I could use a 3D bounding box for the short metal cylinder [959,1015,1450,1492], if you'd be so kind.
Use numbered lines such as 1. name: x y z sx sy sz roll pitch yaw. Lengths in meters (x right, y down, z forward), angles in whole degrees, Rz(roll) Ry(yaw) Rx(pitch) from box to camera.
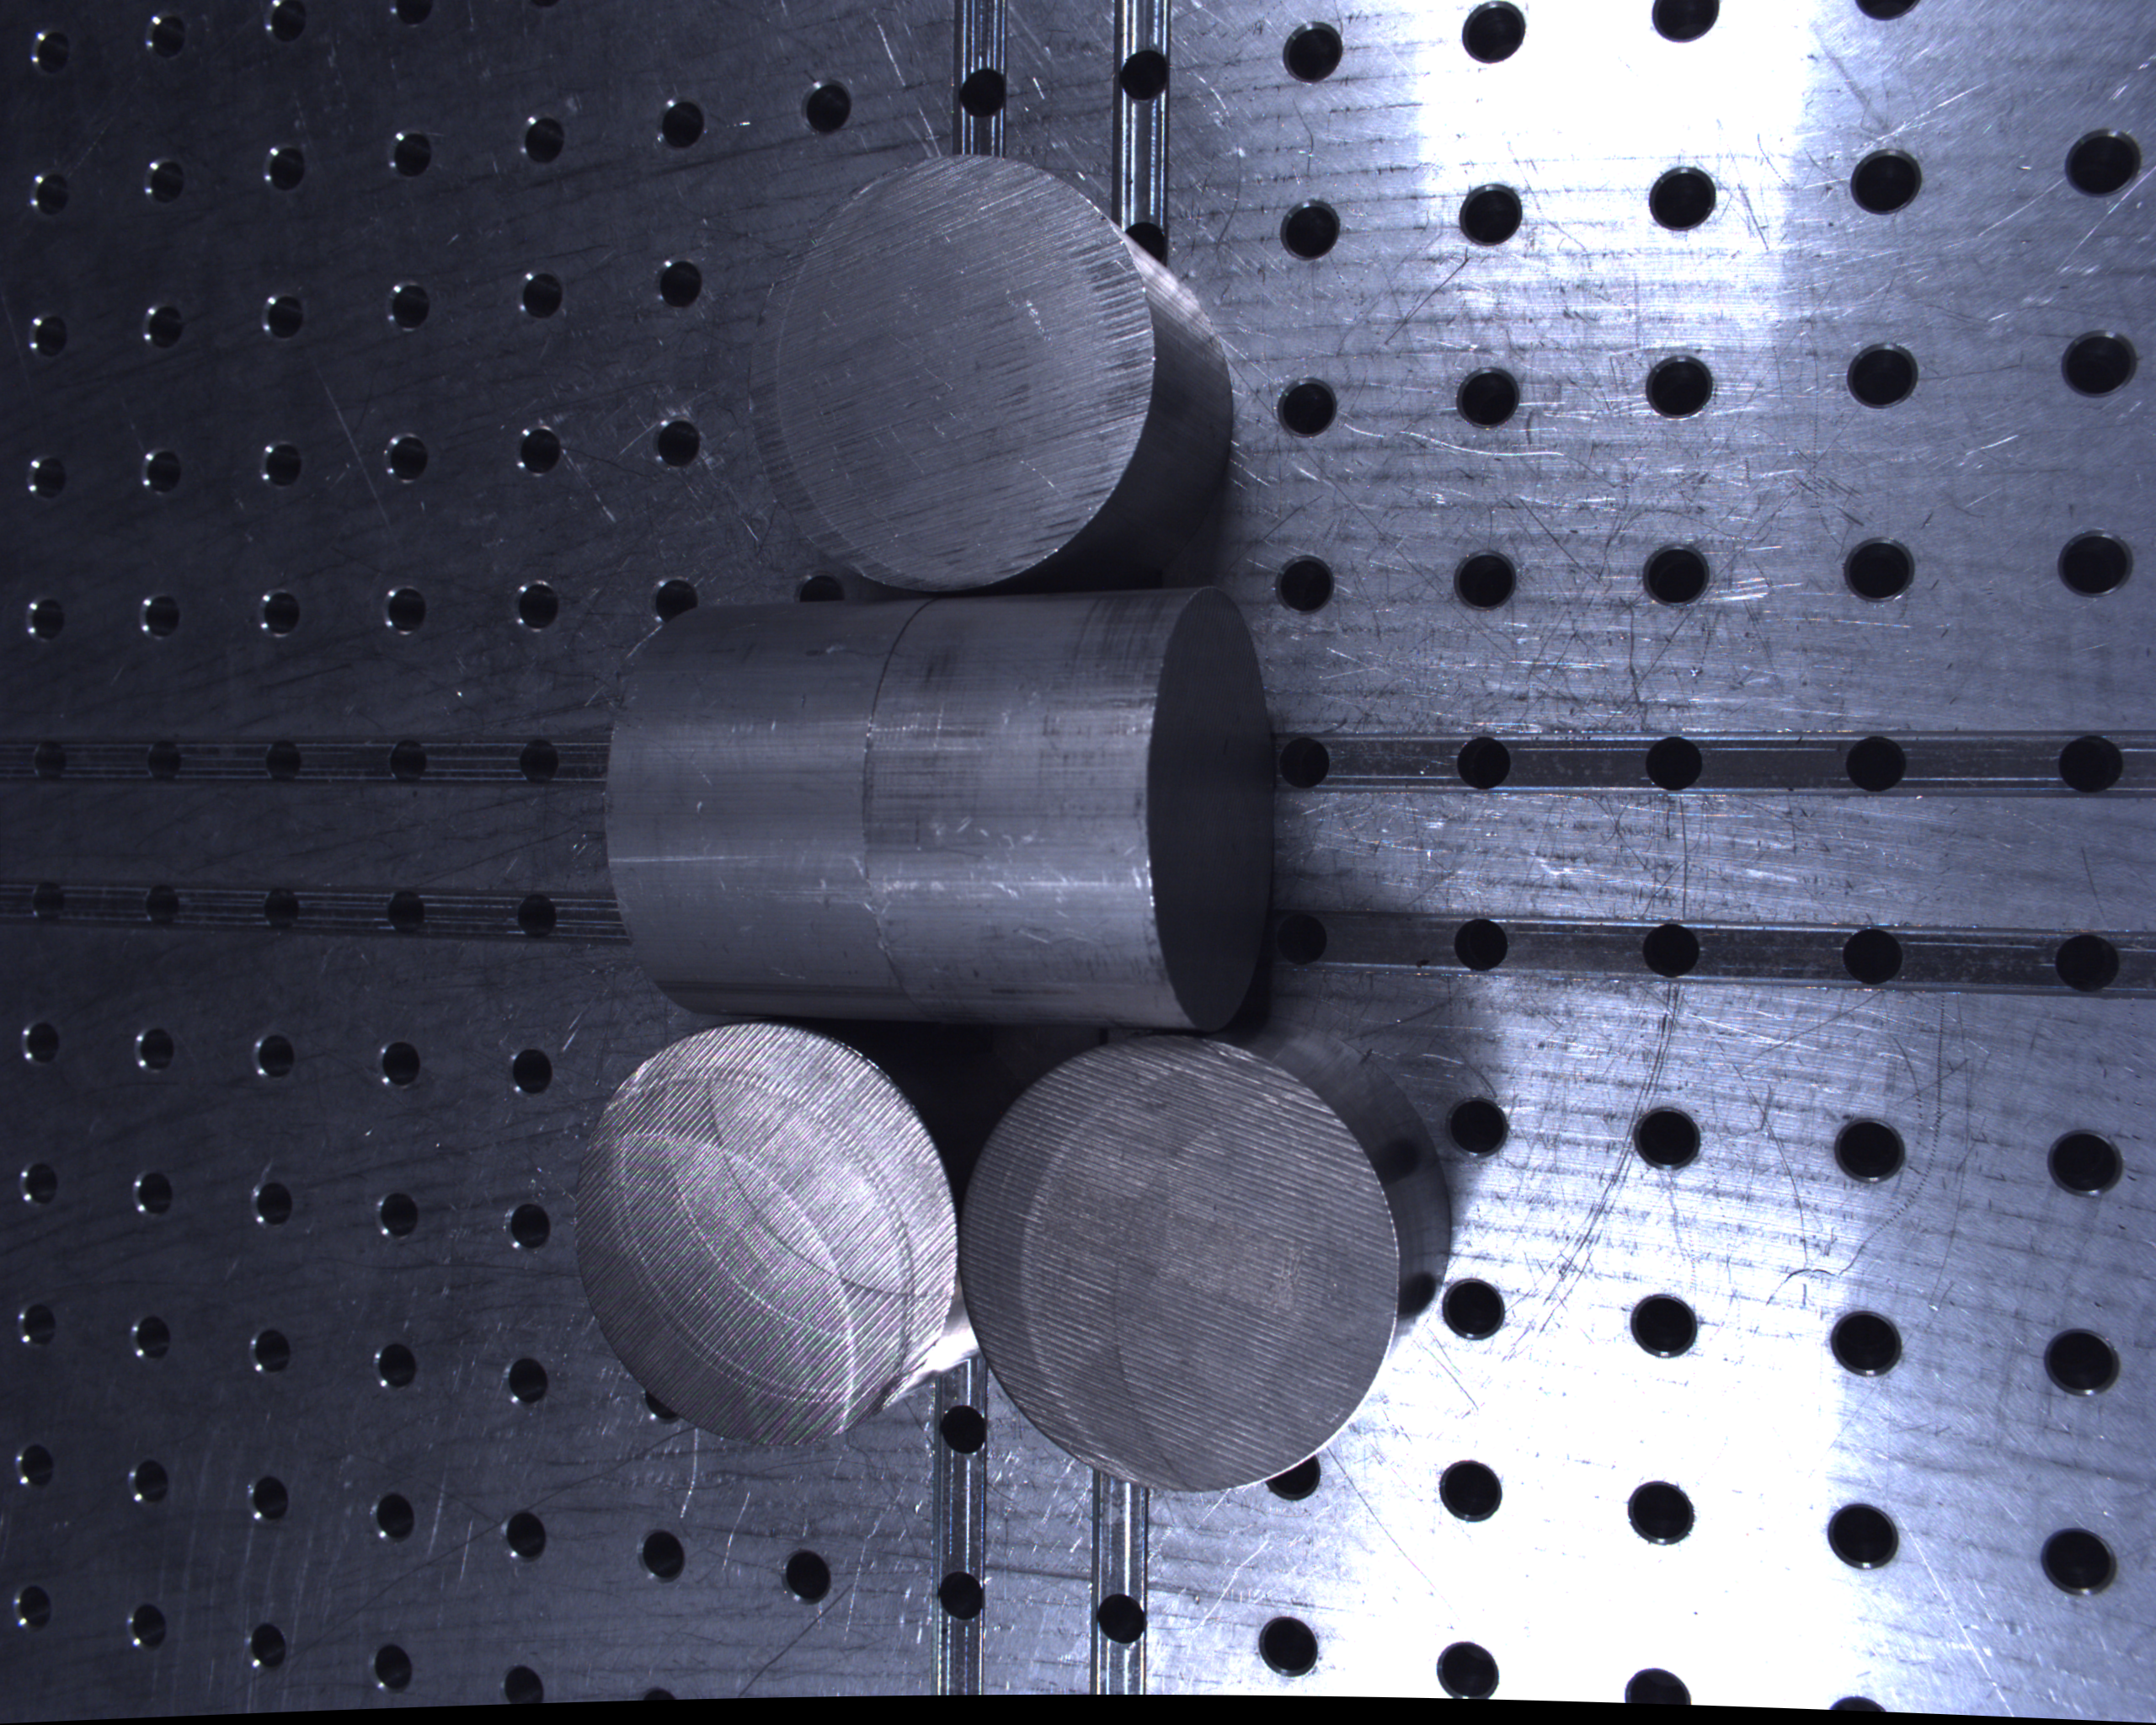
1. short metal cylinder: 0.025 0.070 0.388 0.080 0.050 0.079 0 90 19

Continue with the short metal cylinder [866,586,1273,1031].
1. short metal cylinder: 0.001 -0.010 0.383 0.050 0.080 0.079 0 90 20

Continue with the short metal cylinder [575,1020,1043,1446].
1. short metal cylinder: -0.051 0.070 0.415 0.080 0.050 0.079 0 90 19

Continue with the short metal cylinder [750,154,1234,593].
1. short metal cylinder: -0.015 -0.089 0.404 0.080 0.050 0.079 0 90 19

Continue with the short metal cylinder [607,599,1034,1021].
1. short metal cylinder: -0.046 -0.010 0.399 0.050 0.080 0.079 0 90 20
